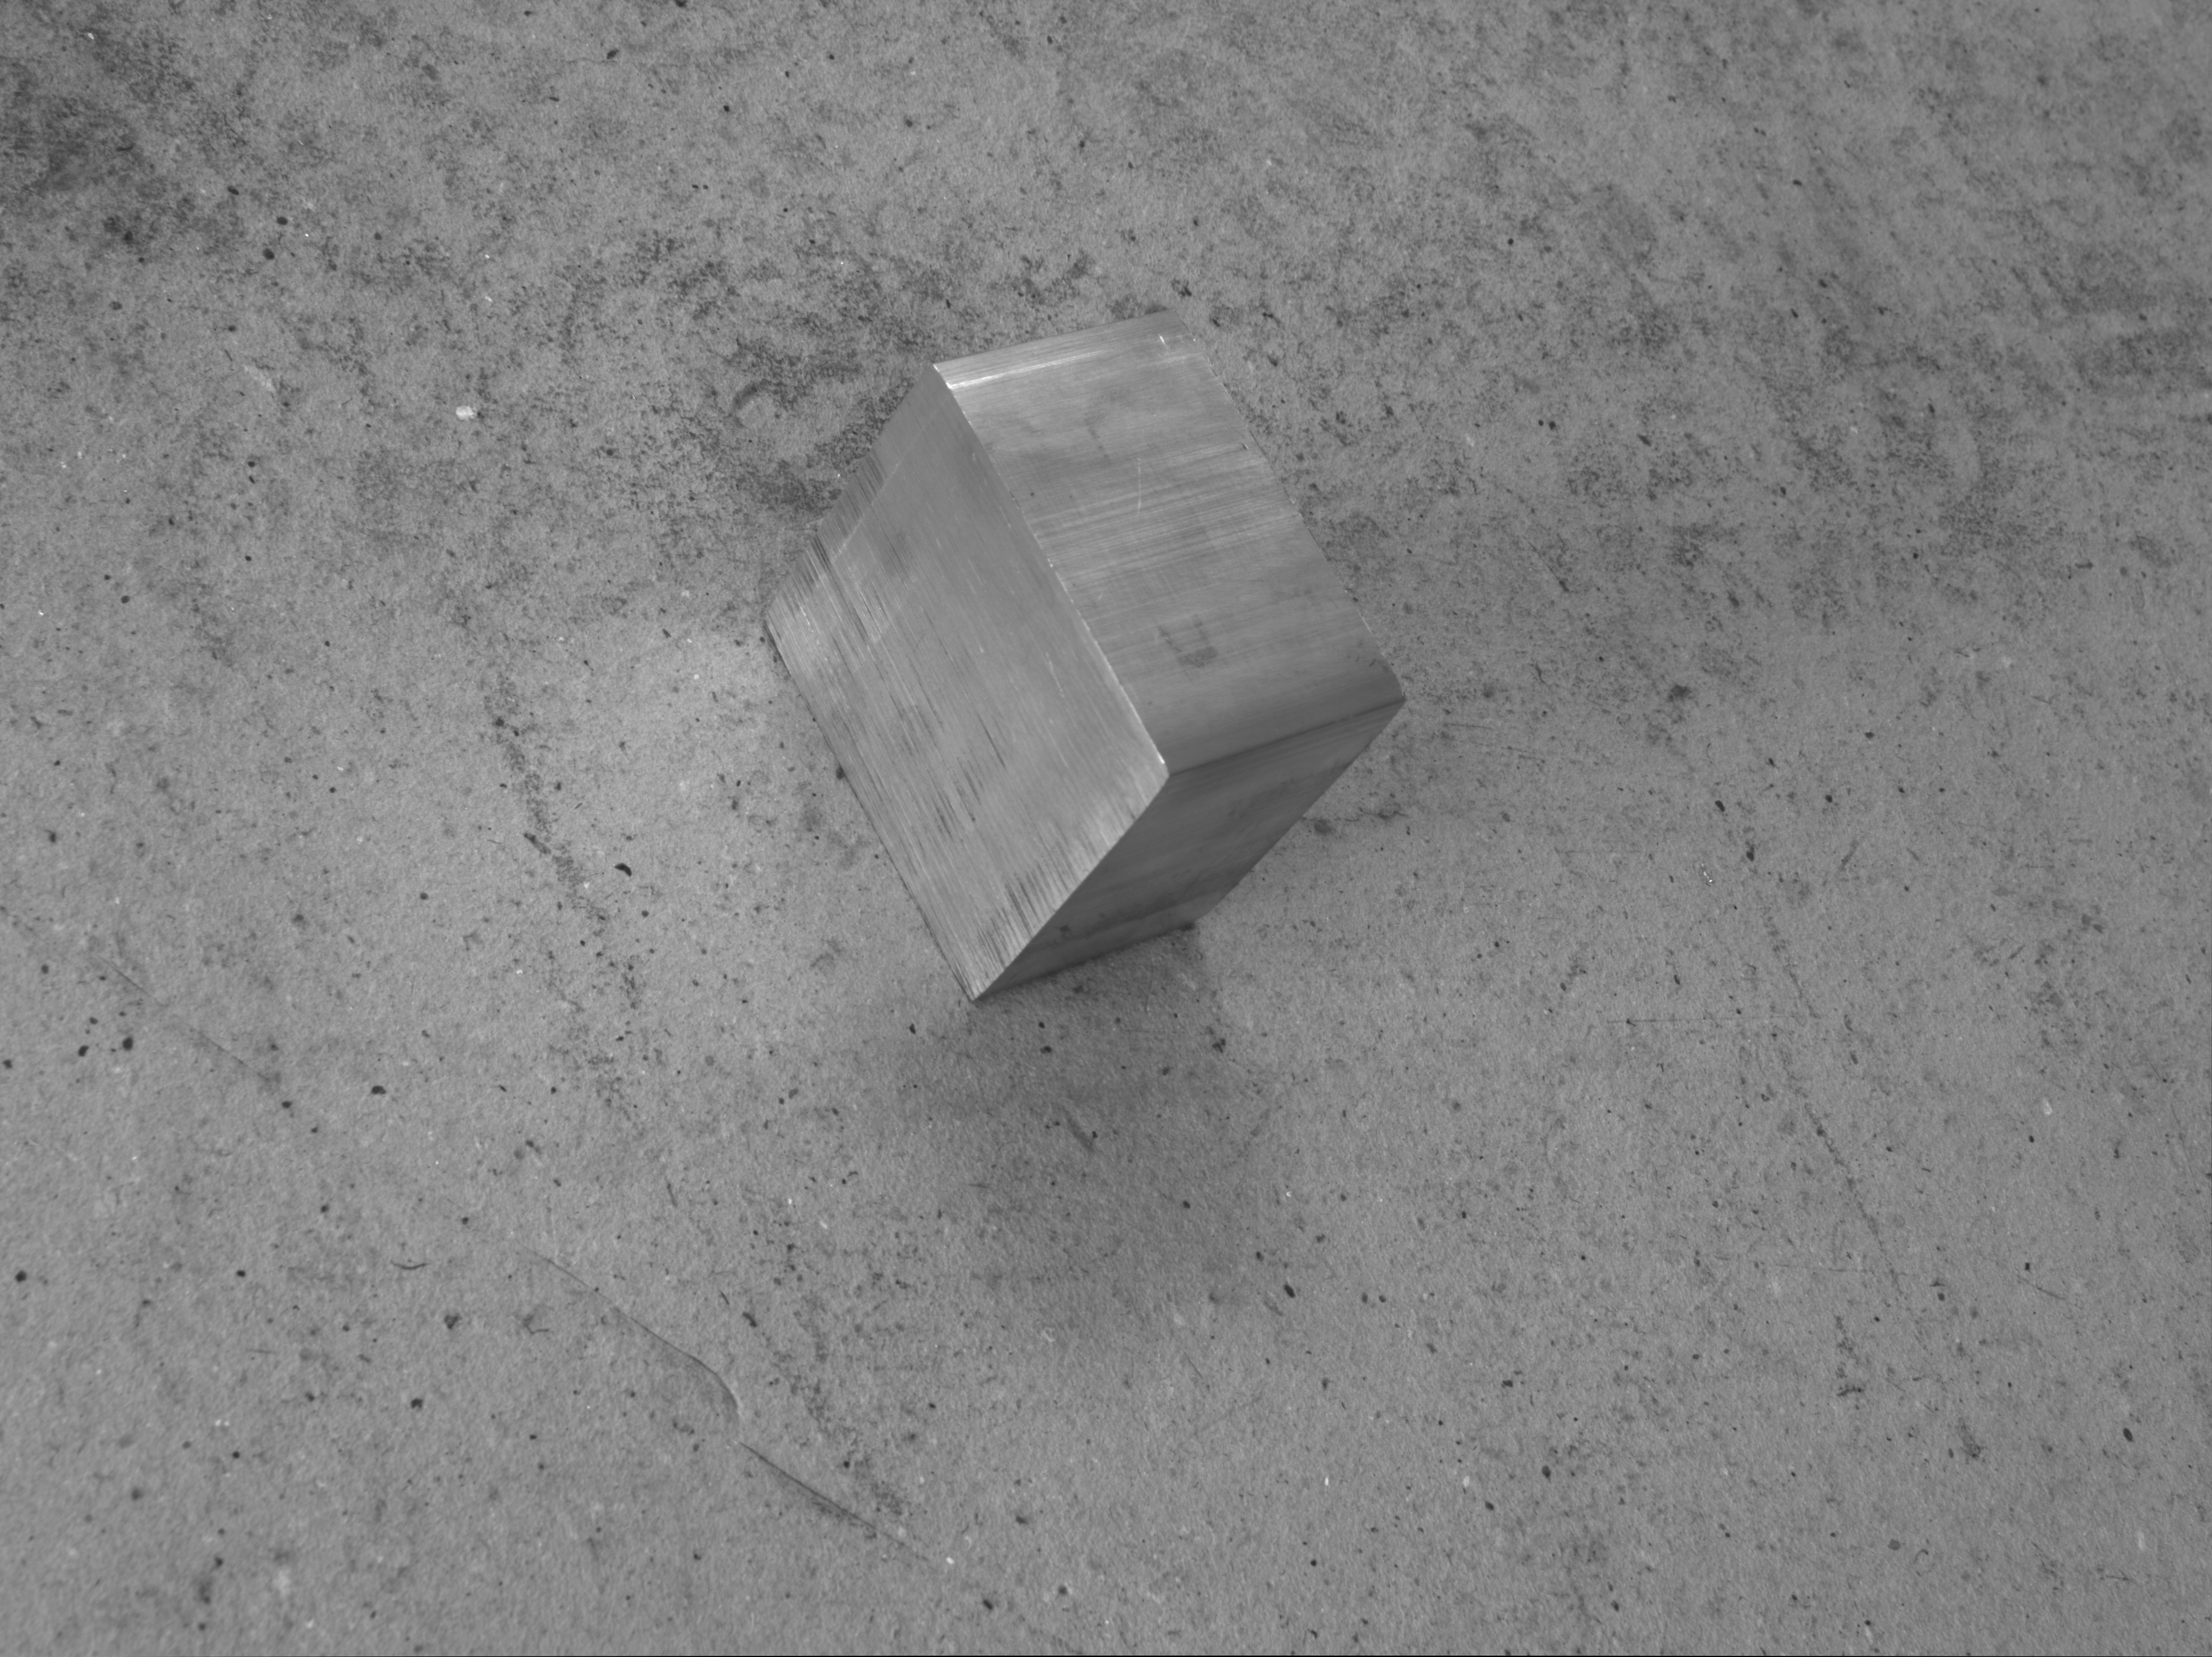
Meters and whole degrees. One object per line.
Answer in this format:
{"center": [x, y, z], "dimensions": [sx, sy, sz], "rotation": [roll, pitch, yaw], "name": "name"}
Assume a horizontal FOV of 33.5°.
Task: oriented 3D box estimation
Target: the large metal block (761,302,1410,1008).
{"center": [-0.006, -0.029, 0.618], "dimensions": [0.050, 0.080, 0.080], "rotation": [-18, 71, -35], "name": "large metal block"}
